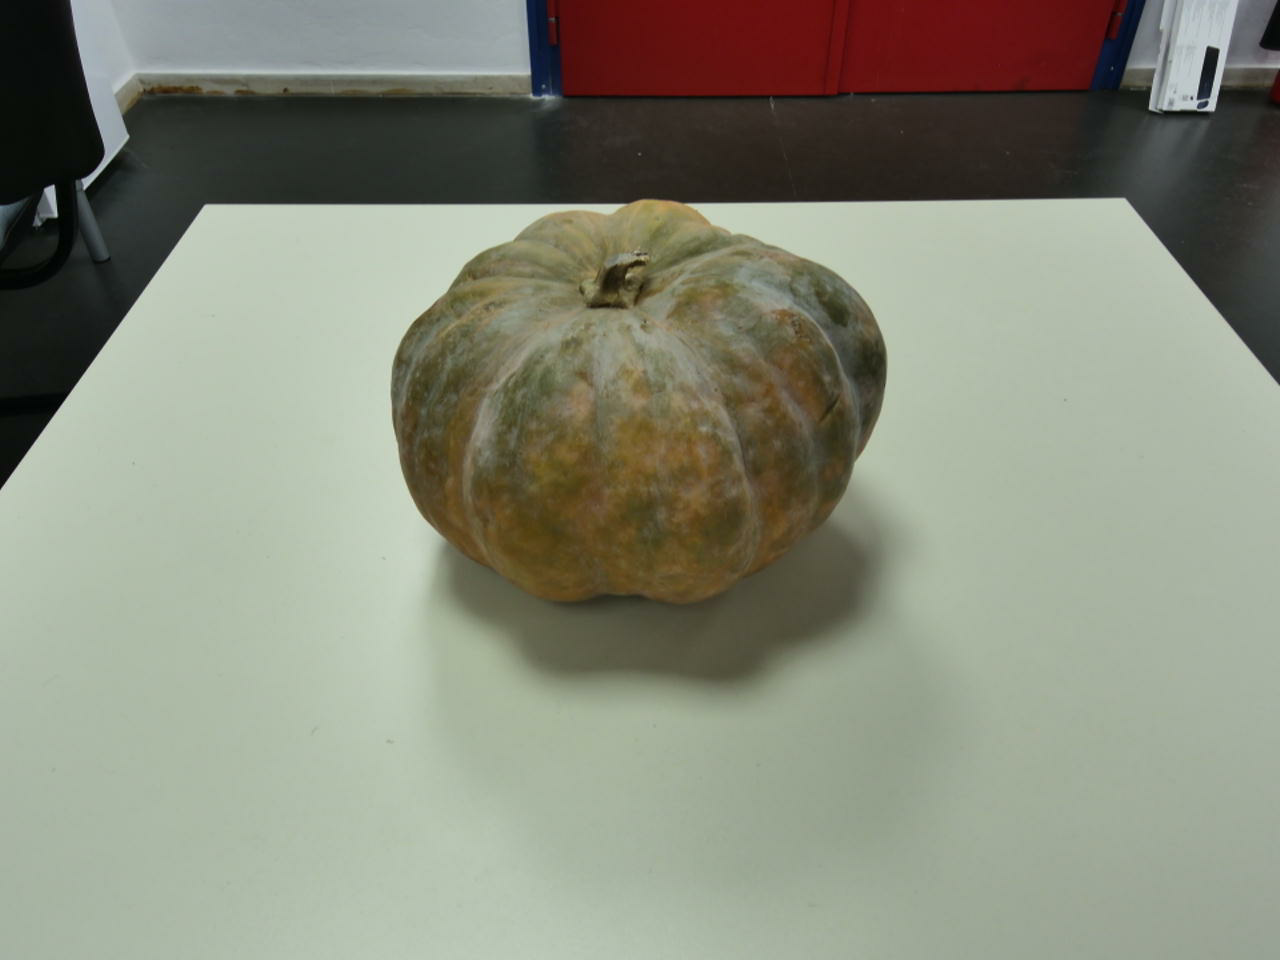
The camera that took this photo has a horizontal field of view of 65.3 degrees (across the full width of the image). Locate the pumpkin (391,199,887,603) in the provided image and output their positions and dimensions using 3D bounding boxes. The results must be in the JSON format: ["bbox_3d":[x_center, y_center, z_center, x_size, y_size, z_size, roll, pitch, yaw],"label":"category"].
[{"bbox_3d":[-0.008,-0.044,0.527,0.252,0.169,0.251,0,39,0],"label":"pumpkin"}]
